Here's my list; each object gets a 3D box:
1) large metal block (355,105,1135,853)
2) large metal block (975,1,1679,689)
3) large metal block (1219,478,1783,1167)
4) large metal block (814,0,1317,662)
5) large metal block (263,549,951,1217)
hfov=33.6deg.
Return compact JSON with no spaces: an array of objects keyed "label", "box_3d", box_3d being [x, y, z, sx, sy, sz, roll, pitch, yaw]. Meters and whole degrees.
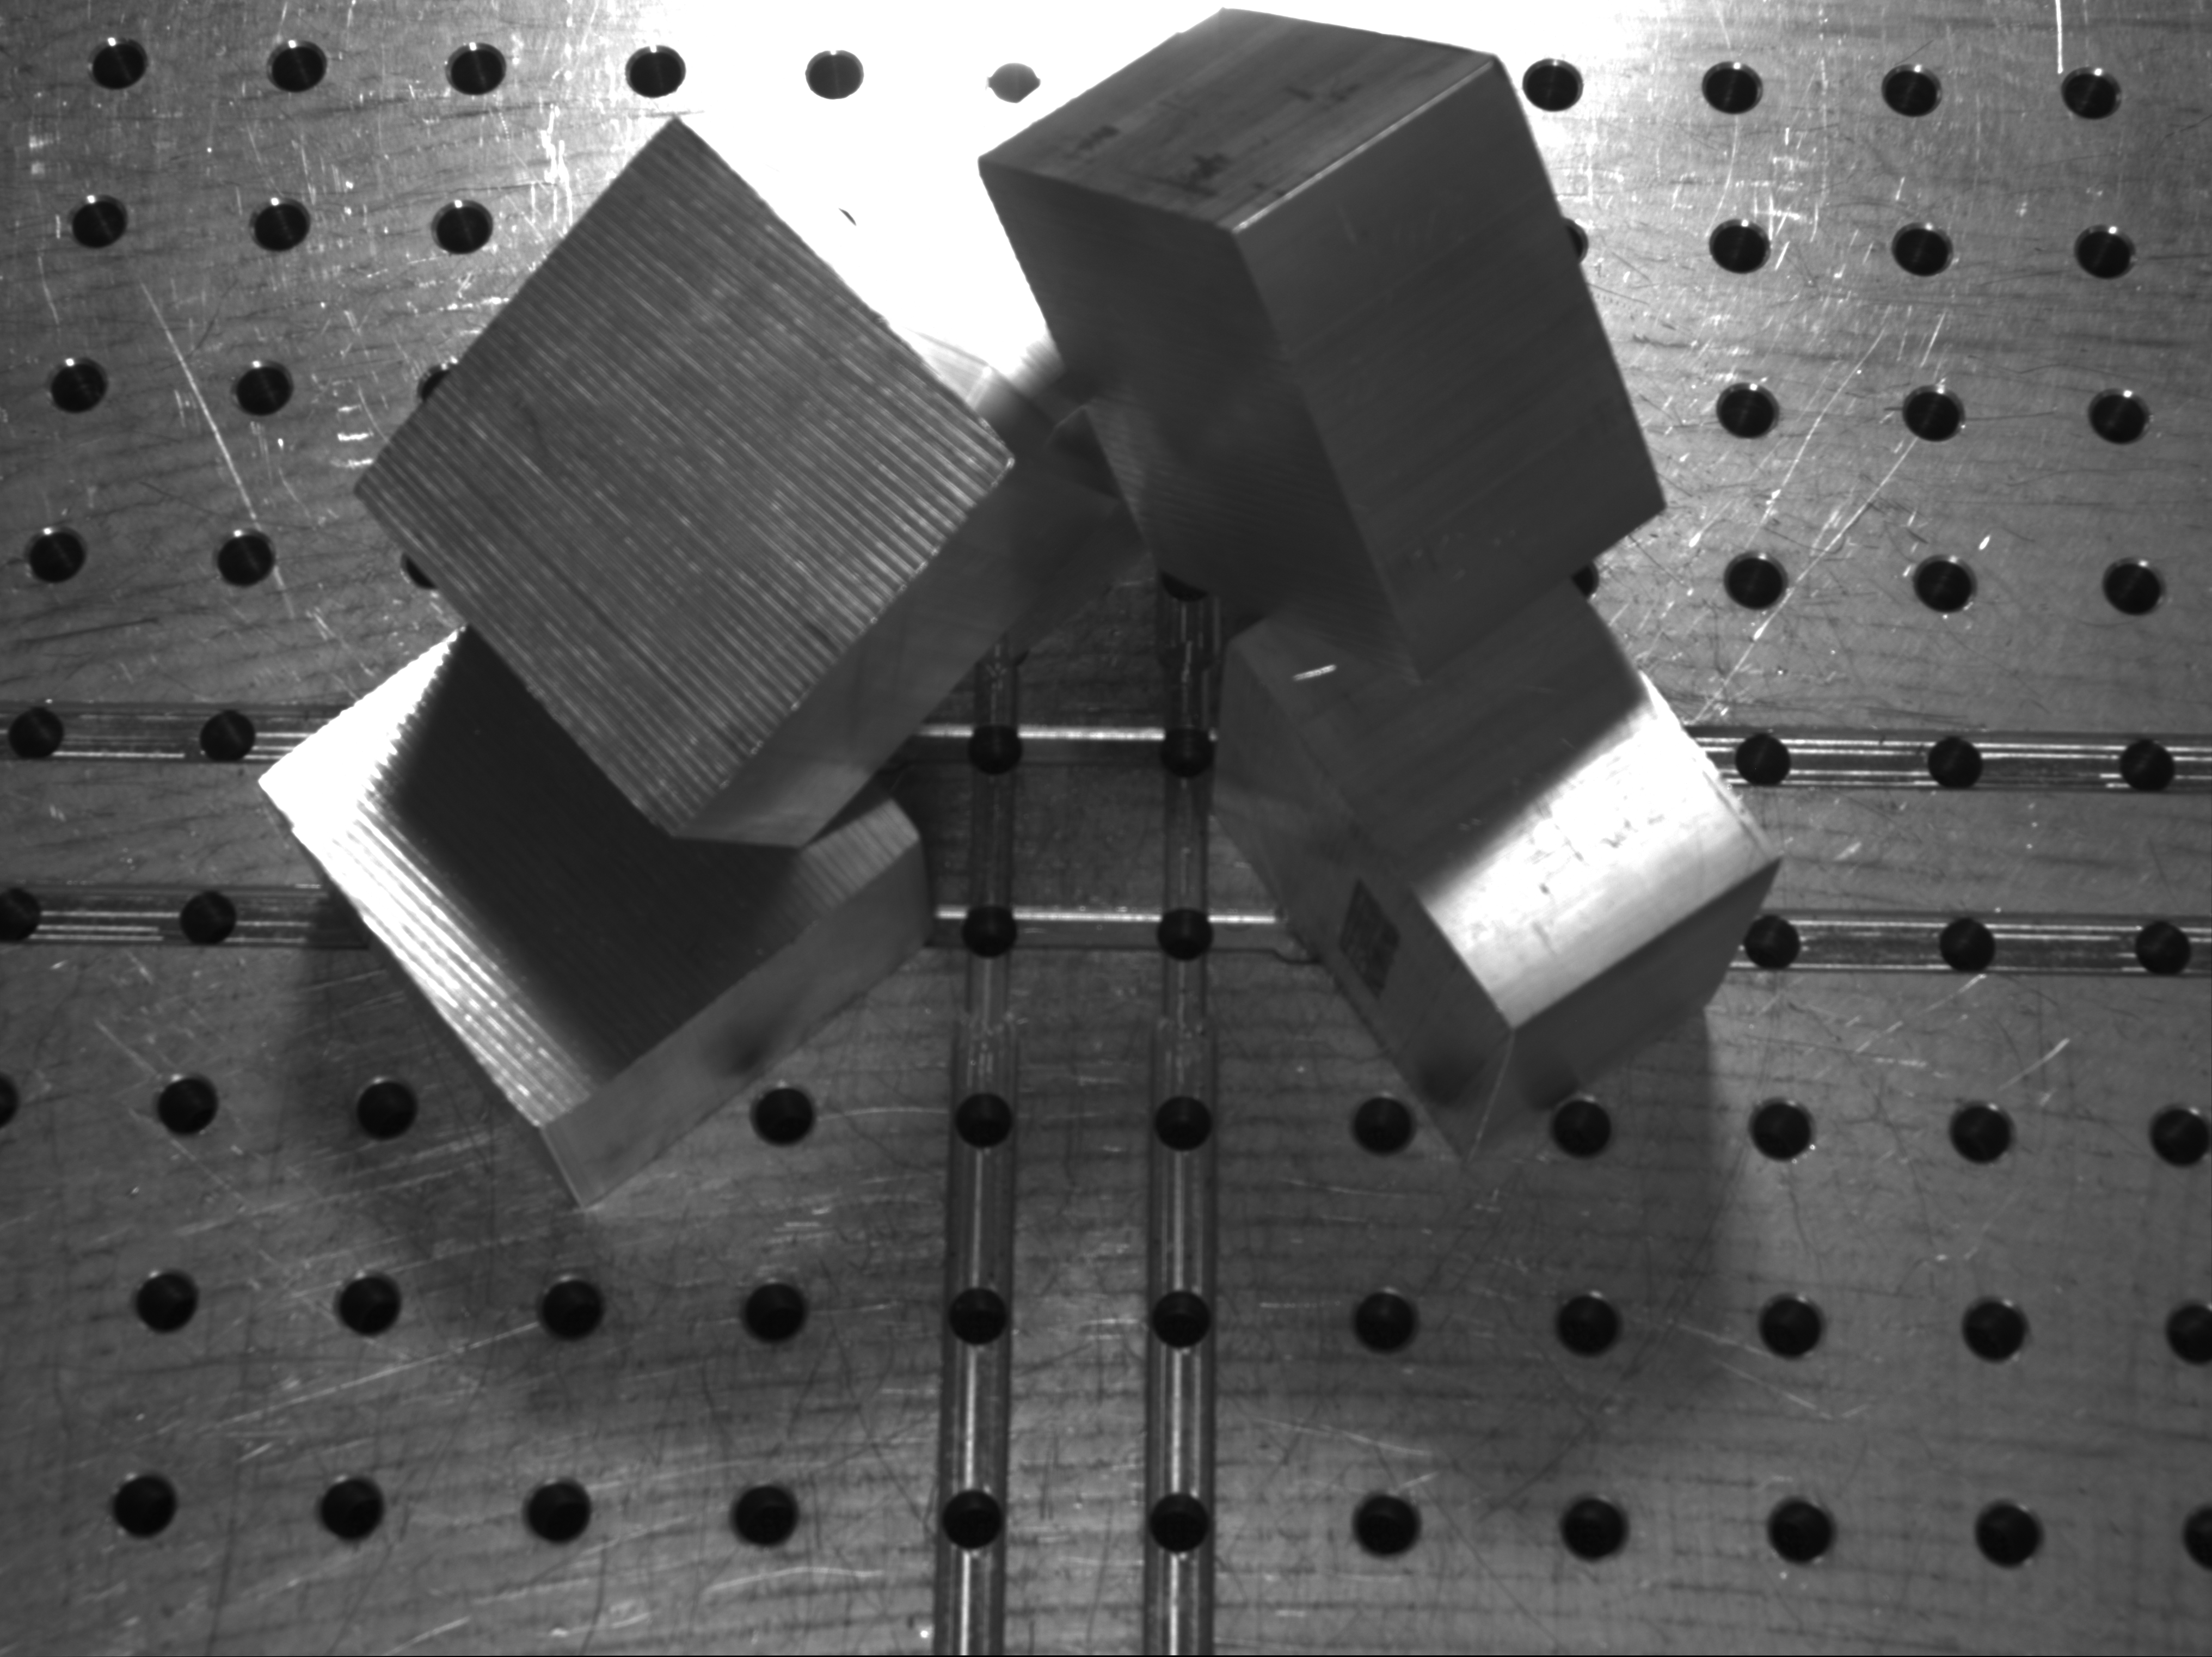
[{"label":"large metal block","box_3d":[-0.057,-0.054,0.584,0.080,0.050,0.080,46,102,15]},{"label":"large metal block","box_3d":[0.034,-0.077,0.571,0.050,0.080,0.080,-35,31,-17]},{"label":"large metal block","box_3d":[0.063,0.001,0.616,0.050,0.080,0.080,-32,73,-11]},{"label":"large metal block","box_3d":[-0.004,-0.087,0.648,0.080,0.080,0.050,-40,74,-13]},{"label":"large metal block","box_3d":[-0.084,0.006,0.631,0.080,0.050,0.080,-38,74,-13]}]
